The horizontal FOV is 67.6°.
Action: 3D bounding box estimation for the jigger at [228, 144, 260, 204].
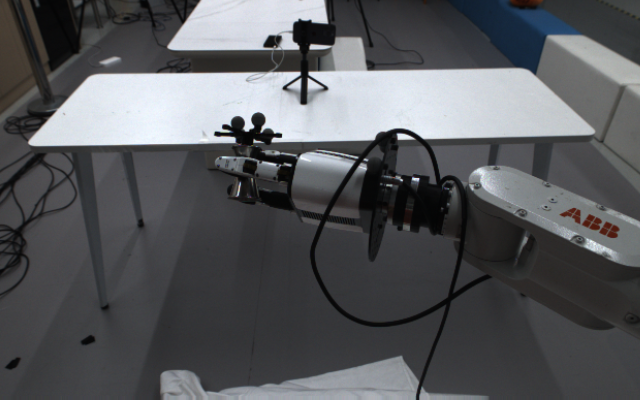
[{"bbox_3d":[-0.099,-0.035,0.627,0.043,0.071,0.043,1,-6,0],"label":"jigger"}]
